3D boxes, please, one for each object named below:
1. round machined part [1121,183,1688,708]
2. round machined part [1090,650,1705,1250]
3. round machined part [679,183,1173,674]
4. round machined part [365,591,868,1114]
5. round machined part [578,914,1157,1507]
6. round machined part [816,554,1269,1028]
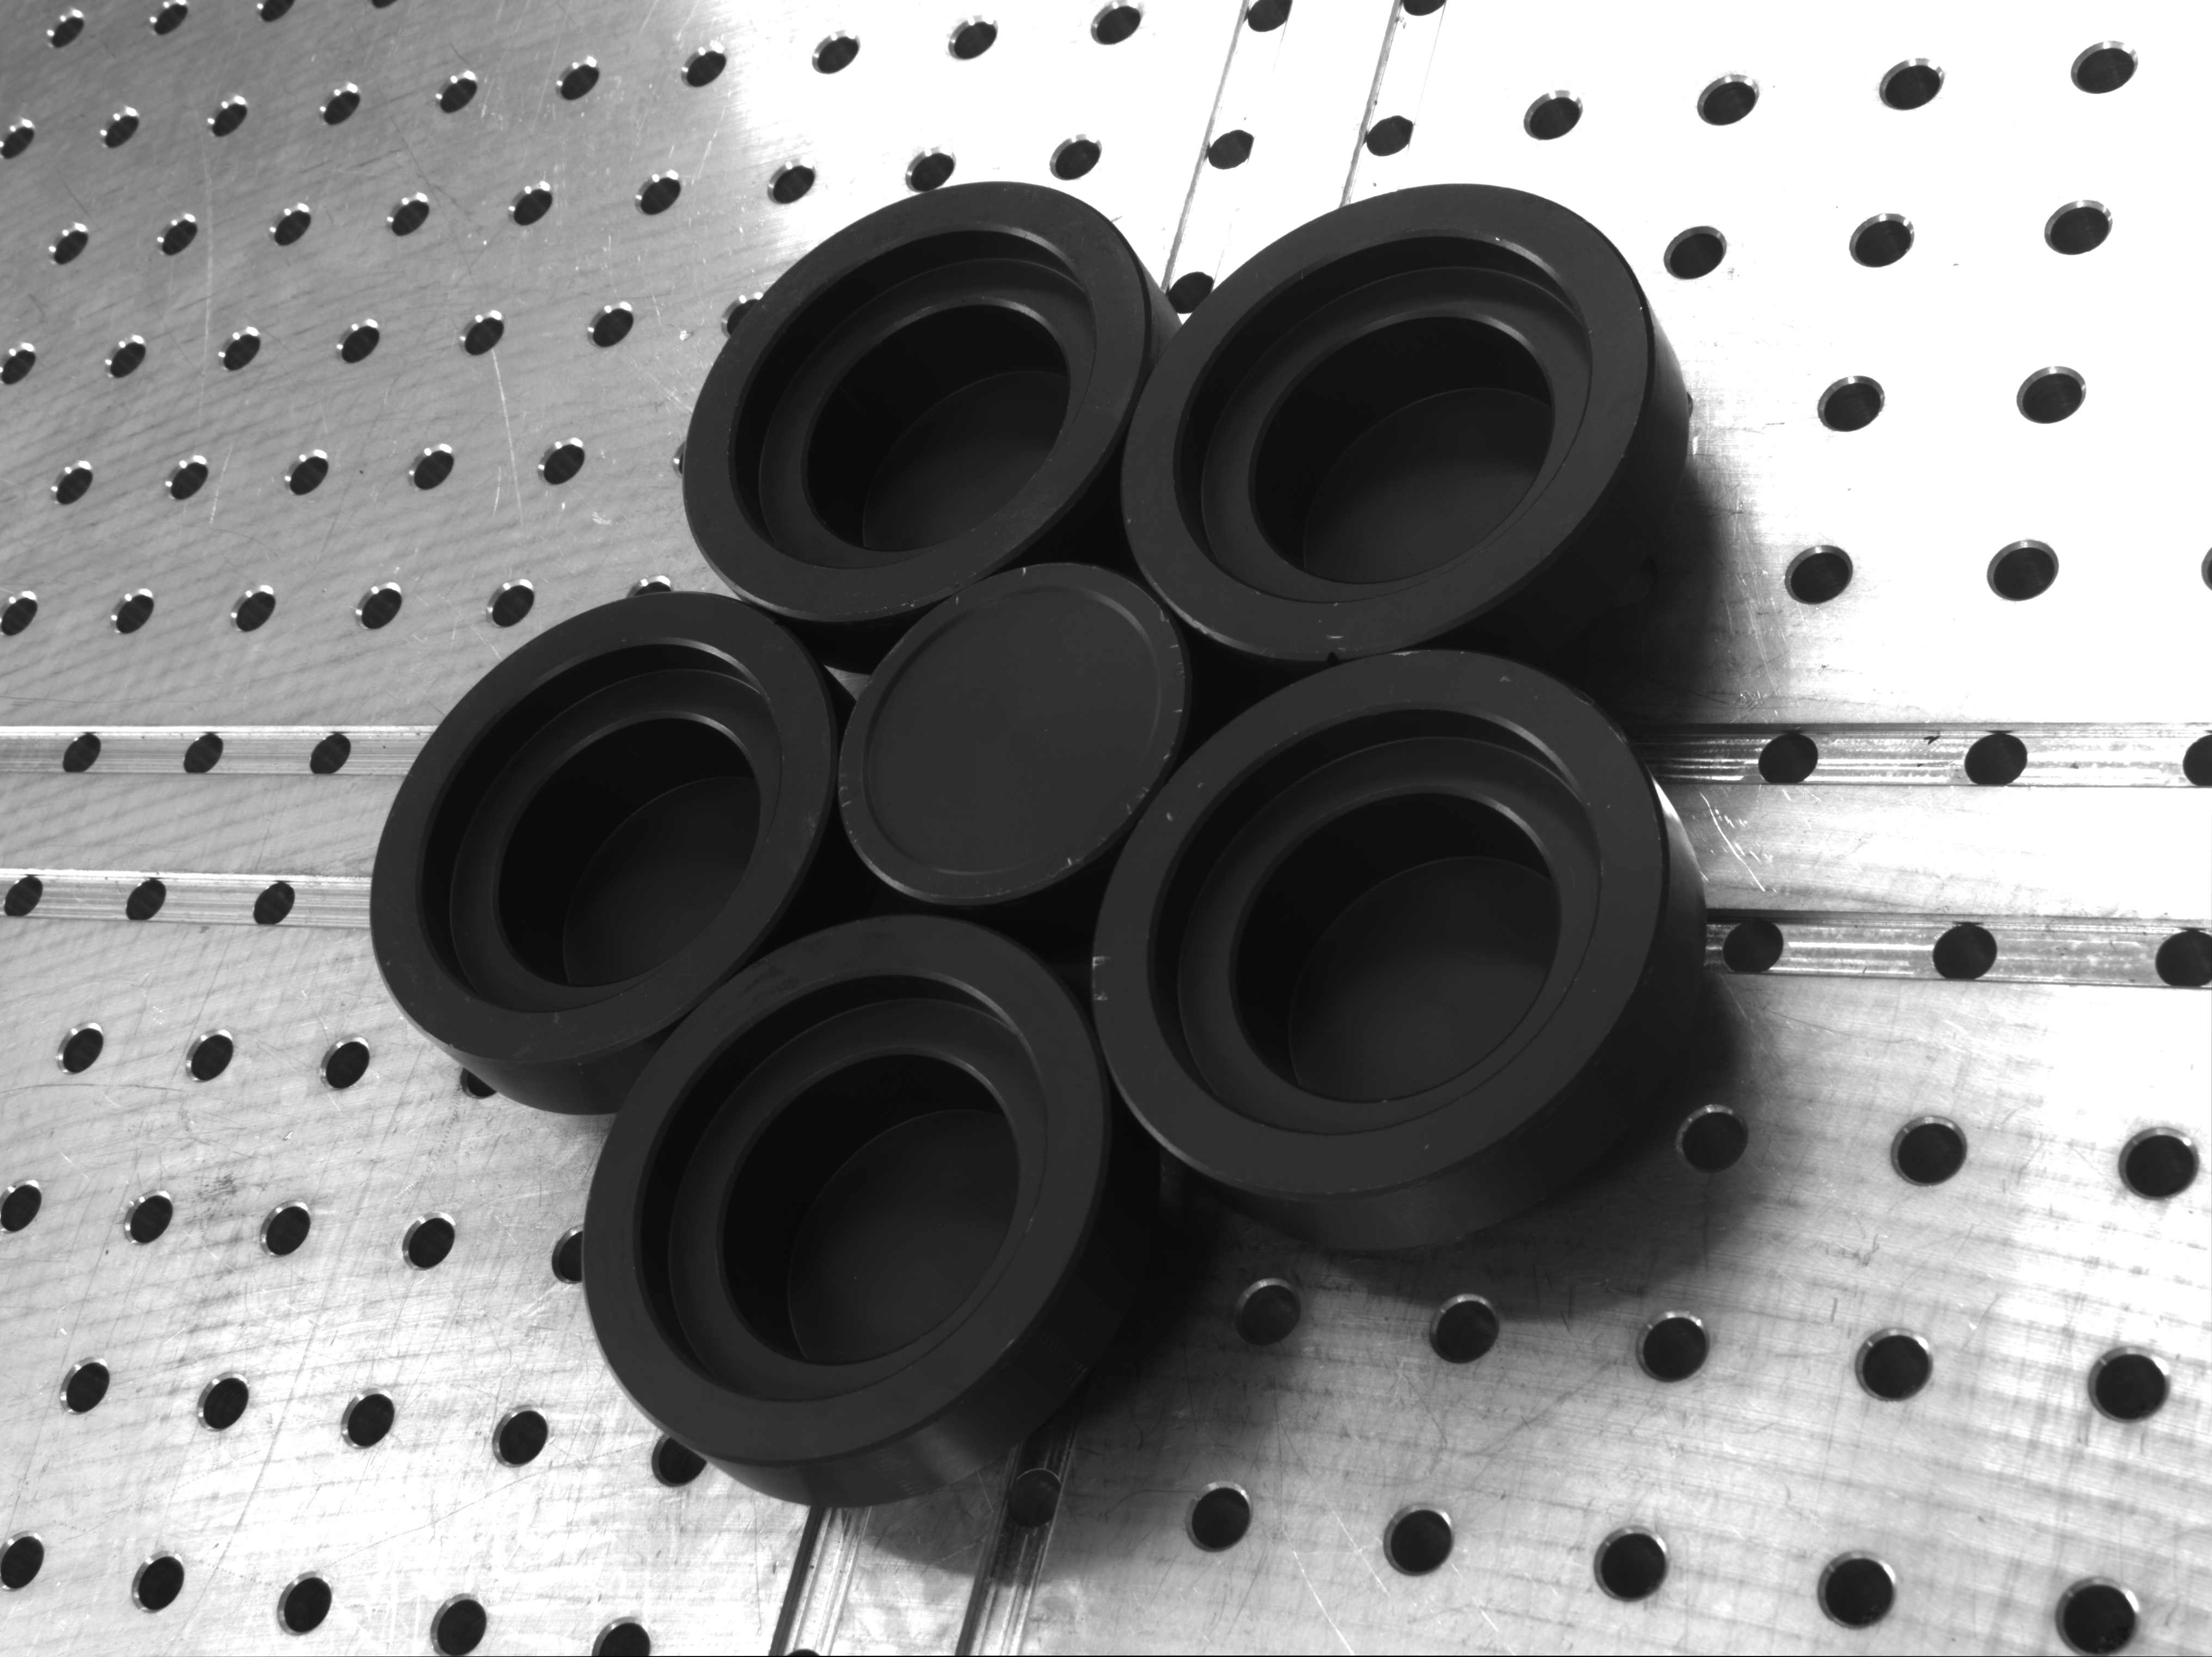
[{"bbox_3d":[0.055,-0.062,0.645,0.098,0.042,0.098,-14,56,21],"label":"round machined part"},{"bbox_3d":[0.050,0.023,0.596,0.098,0.042,0.098,-14,56,21],"label":"round machined part"},{"bbox_3d":[-0.028,-0.071,0.696,0.098,0.042,0.098,-14,56,21],"label":"round machined part"},{"bbox_3d":[-0.084,0.009,0.677,0.098,0.042,0.098,-14,56,21],"label":"round machined part"},{"bbox_3d":[-0.036,0.067,0.615,0.098,0.042,0.098,-14,56,21],"label":"round machined part"},{"bbox_3d":[-0.009,-0.007,0.646,0.098,0.042,0.098,-14,56,21],"label":"round machined part"}]
